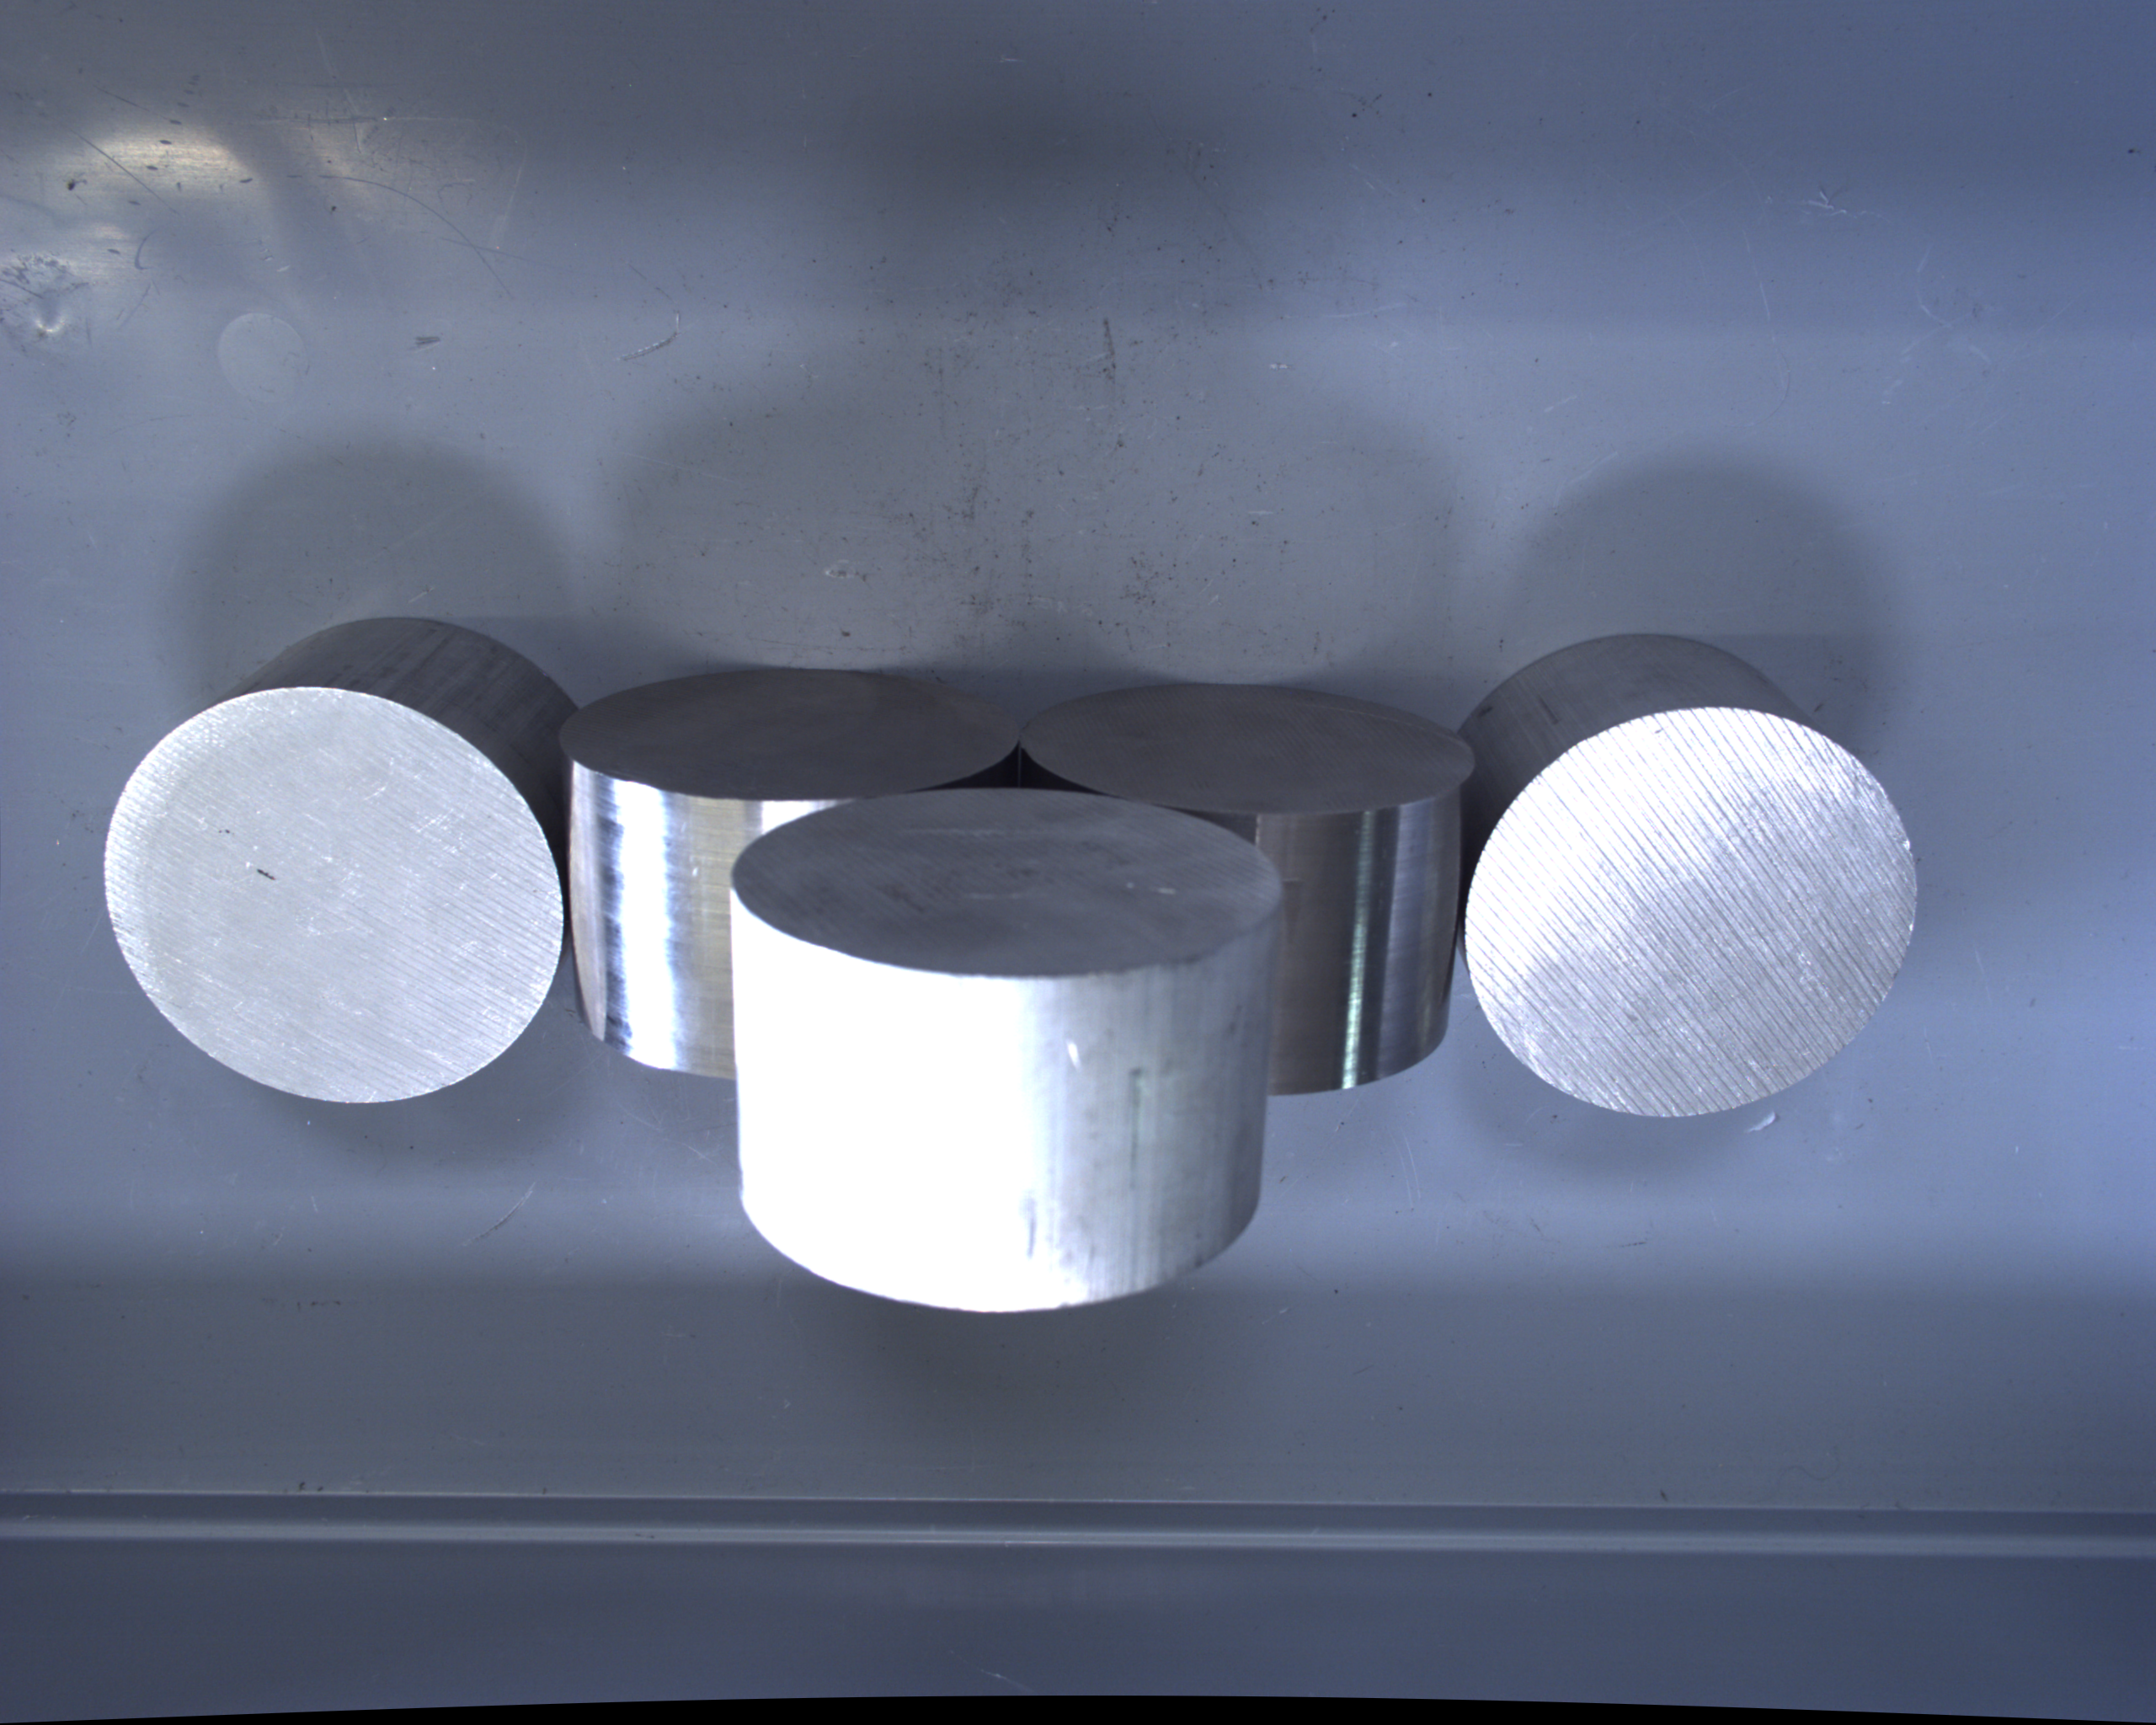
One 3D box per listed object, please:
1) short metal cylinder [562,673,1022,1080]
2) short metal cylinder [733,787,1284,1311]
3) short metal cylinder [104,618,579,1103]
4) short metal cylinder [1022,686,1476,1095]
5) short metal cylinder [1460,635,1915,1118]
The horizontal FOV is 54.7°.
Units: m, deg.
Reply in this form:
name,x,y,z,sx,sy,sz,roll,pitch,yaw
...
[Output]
name,x,y,z,sx,sy,sz,roll,pitch,yaw
short metal cylinder,-0.051,0.000,0.379,0.081,0.080,0.050,2,110,-1
short metal cylinder,-0.011,0.025,0.316,0.081,0.080,0.050,2,110,-1
short metal cylinder,-0.132,-0.002,0.394,0.081,0.050,0.079,0,110,0
short metal cylinder,0.030,0.002,0.381,0.081,0.080,0.050,2,110,-1
short metal cylinder,0.110,0.002,0.398,0.081,0.050,0.079,0,110,0
